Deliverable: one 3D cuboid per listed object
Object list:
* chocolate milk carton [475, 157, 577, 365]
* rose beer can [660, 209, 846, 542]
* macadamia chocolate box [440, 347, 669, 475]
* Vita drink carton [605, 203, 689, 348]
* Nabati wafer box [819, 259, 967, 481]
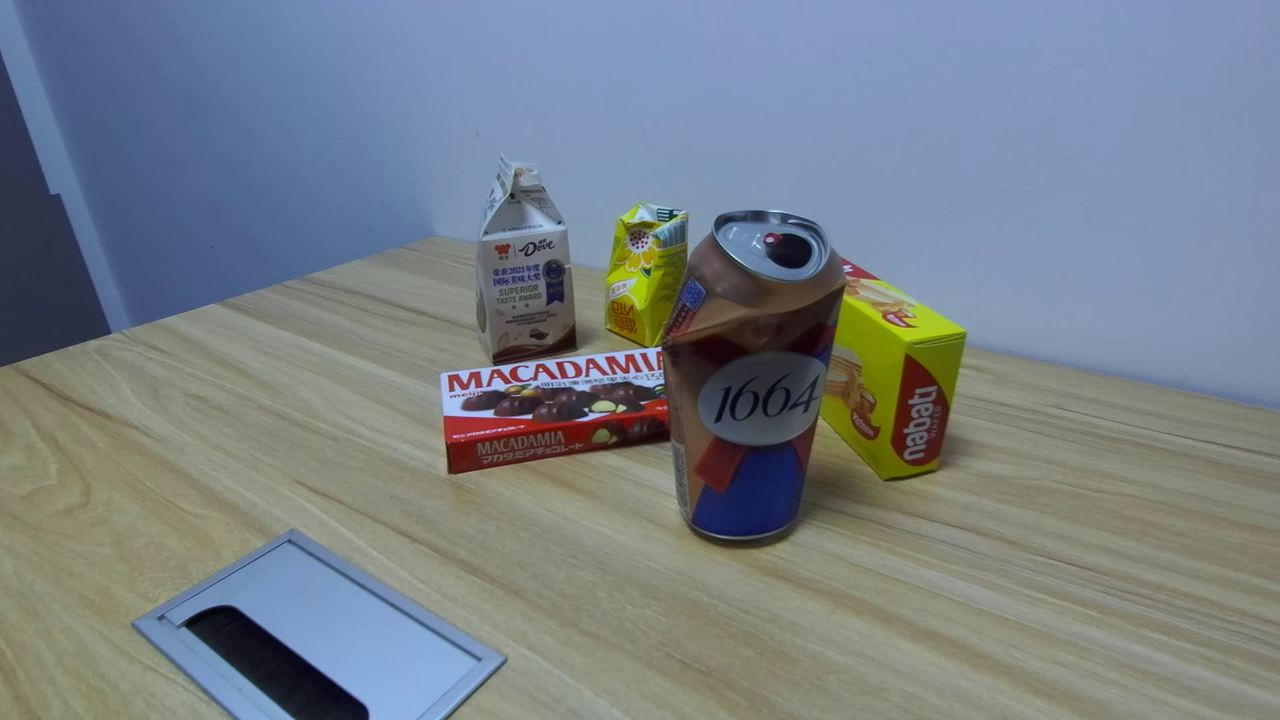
[{"bbox_3d":[-0.098,-0.086,0.576,0.073,0.155,0.084,-10,28,-18],"label":"chocolate milk carton"},{"bbox_3d":[0.055,0.012,0.356,0.069,0.168,0.069,14,31,23],"label":"rose beer can"},{"bbox_3d":[-0.040,0.029,0.487,0.187,0.027,0.102,-8,29,-13],"label":"macadamia chocolate box"},{"bbox_3d":[0.003,-0.074,0.605,0.047,0.110,0.071,-20,30,-38],"label":"Vita drink carton"},{"bbox_3d":[0.136,-0.014,0.487,0.042,0.093,0.202,-9,28,-13],"label":"Nabati wafer box"}]
